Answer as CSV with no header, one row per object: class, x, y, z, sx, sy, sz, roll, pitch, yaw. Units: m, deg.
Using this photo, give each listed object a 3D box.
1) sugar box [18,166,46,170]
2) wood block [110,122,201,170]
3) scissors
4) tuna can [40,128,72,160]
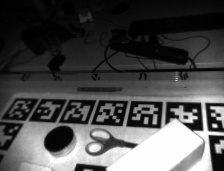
sugar box,-0.224,0.291,0.525,0.092,0.046,0.176,4,48,20
wood block,0.097,0.193,0.496,0.207,0.092,0.088,-32,45,-16
scissors,0.007,0.171,0.594,0.200,0.016,0.088,4,48,24
tuna can,-0.162,0.170,0.629,0.085,0.034,0.085,-8,45,9
